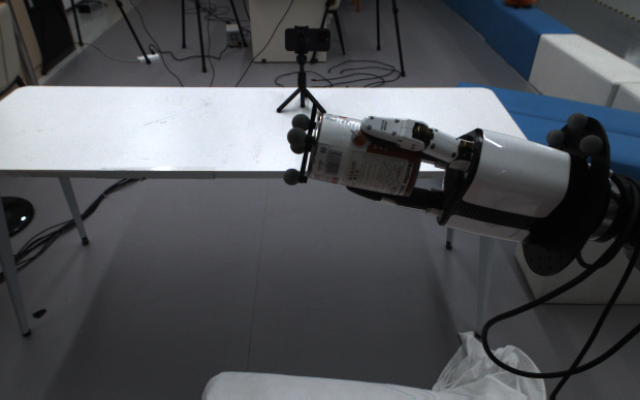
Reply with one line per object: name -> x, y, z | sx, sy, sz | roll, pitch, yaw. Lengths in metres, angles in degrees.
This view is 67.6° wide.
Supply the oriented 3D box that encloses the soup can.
soup can -> 0.046, -0.046, 0.481 | 0.101, 0.067, 0.067 | 11, 35, -2
